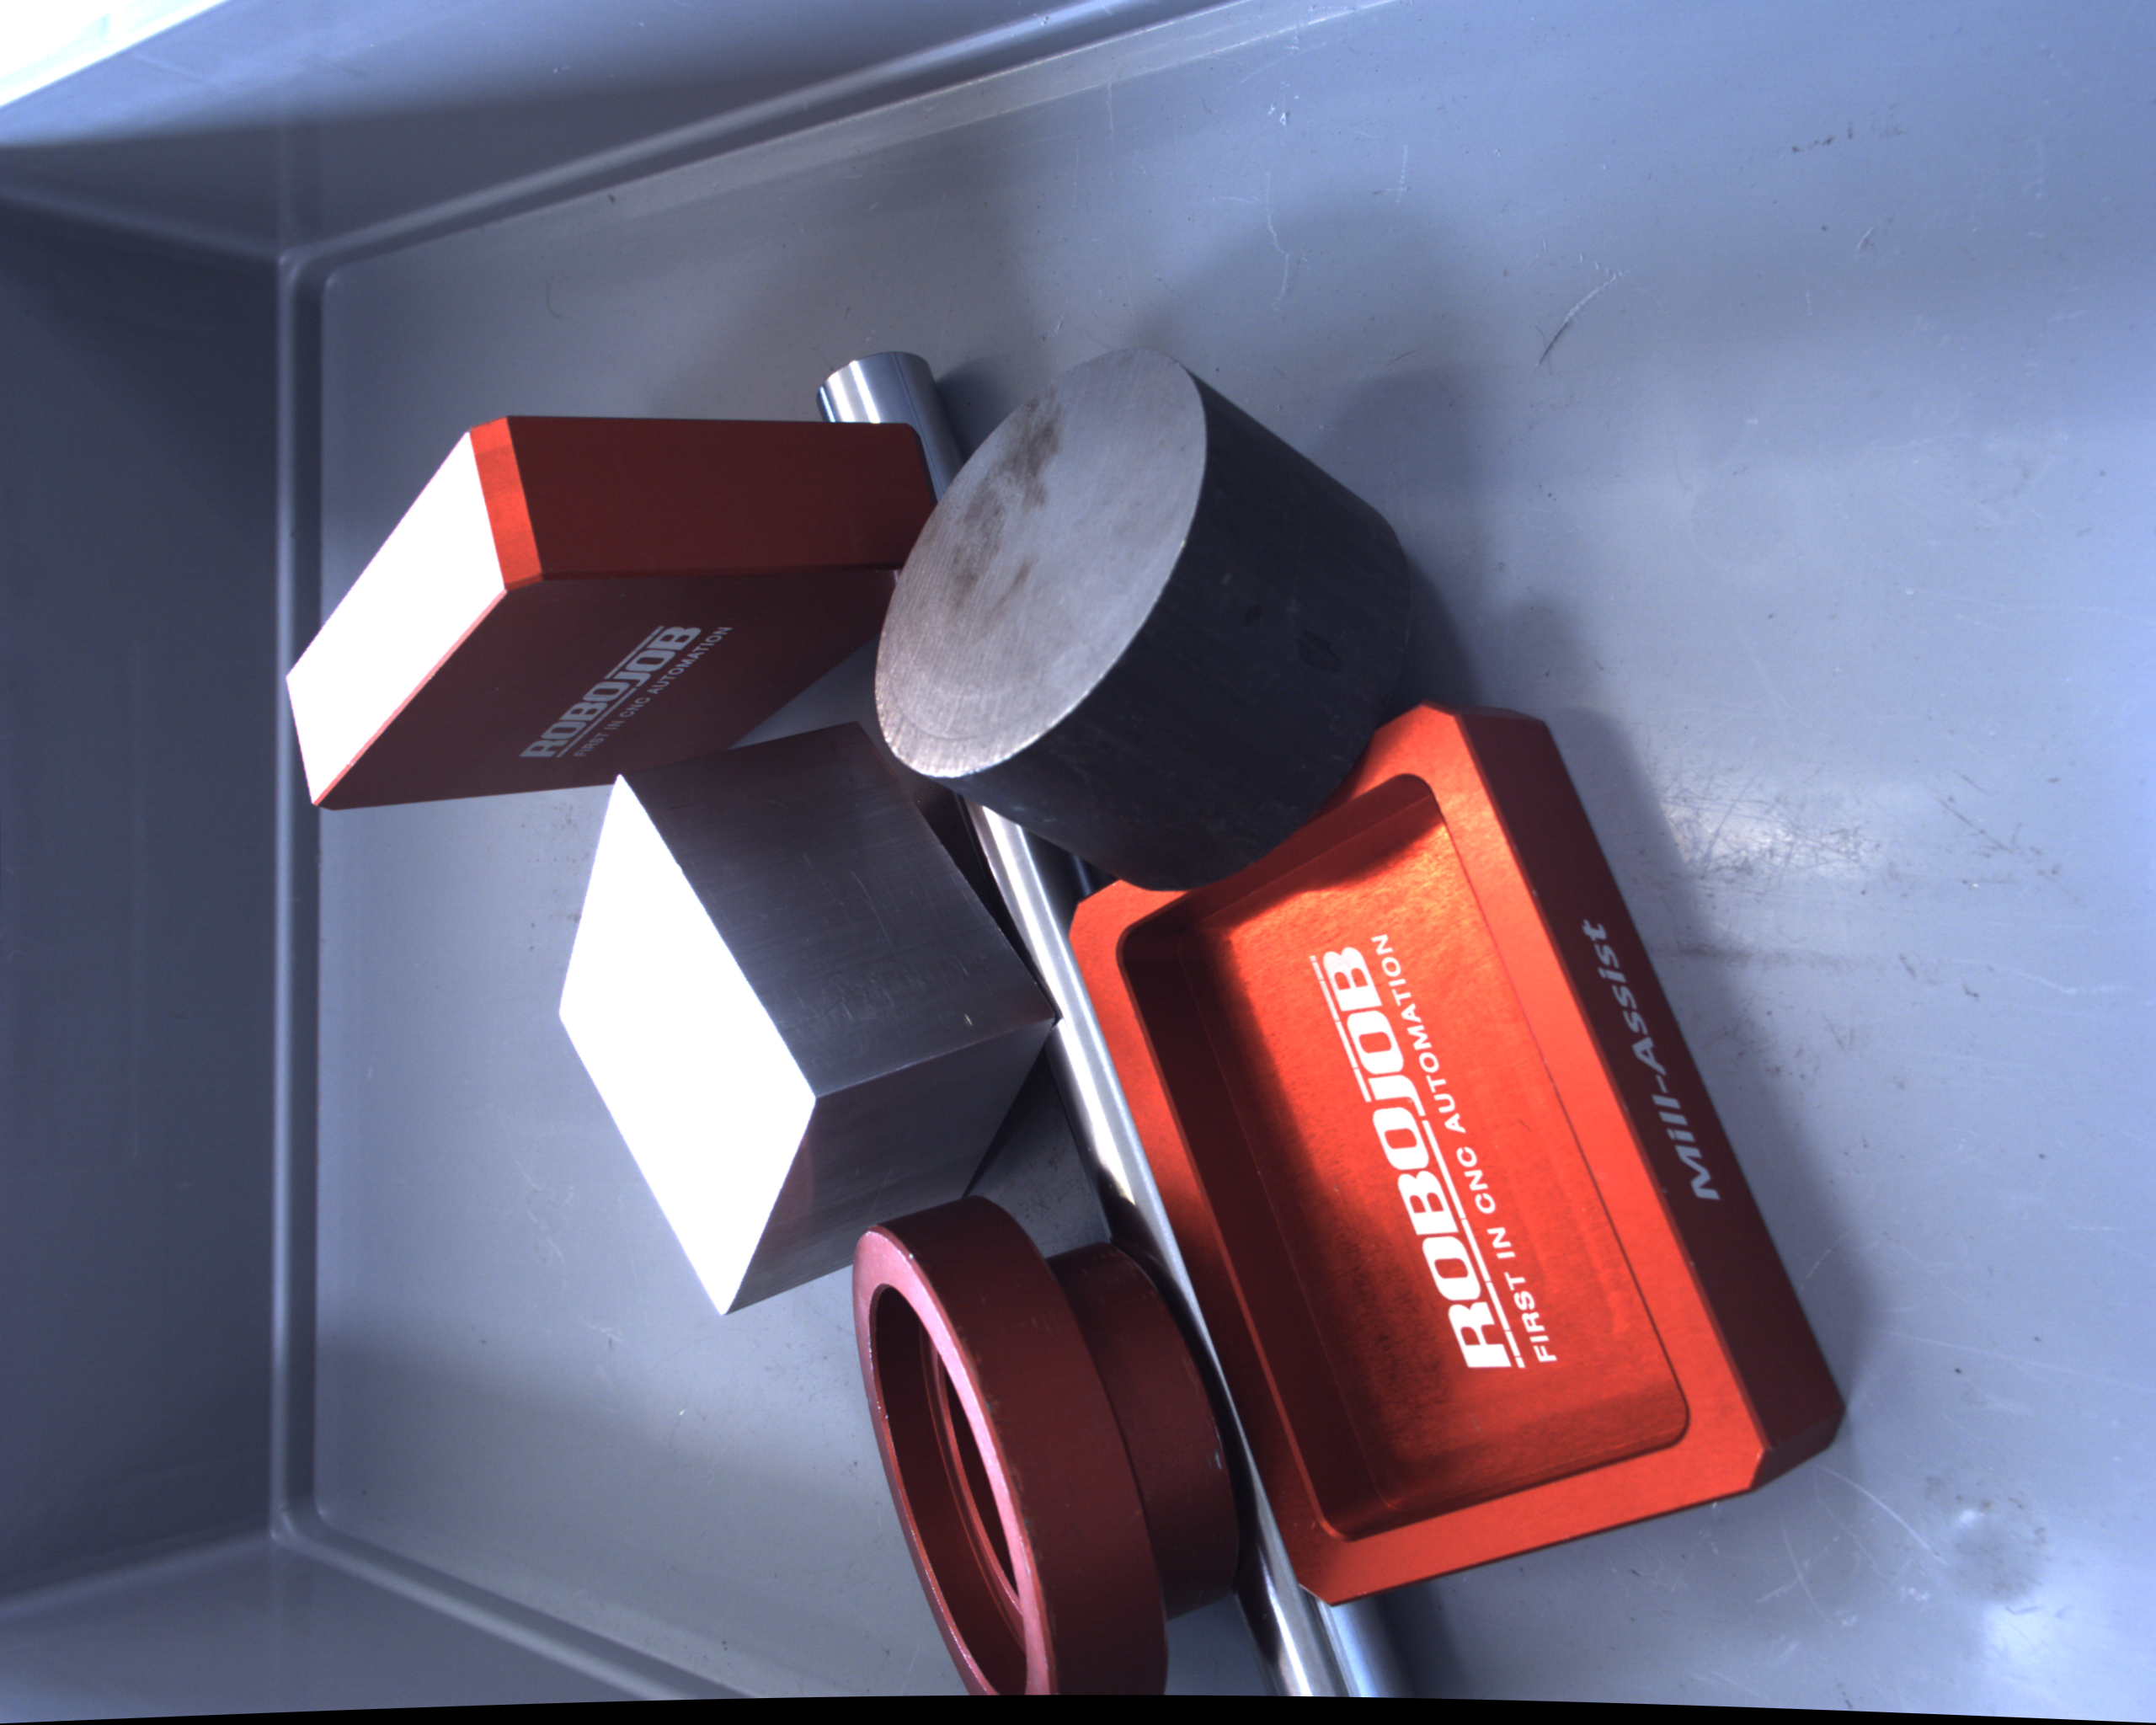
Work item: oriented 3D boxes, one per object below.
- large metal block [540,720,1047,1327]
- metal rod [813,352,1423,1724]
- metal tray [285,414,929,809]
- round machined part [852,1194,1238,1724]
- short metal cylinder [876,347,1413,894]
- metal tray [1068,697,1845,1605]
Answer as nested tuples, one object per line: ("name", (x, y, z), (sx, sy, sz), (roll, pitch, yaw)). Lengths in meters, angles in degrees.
("large metal block", (-0.060, 0.031, 0.414), (0.080, 0.050, 0.079), (55, 140, 25))
("metal rod", (0.005, 0.035, 0.400), (0.025, 0.025, 0.299), (-31, 71, 35))
("metal tray", (-0.097, -0.048, 0.423), (0.130, 0.091, 0.030), (-27, 75, 52))
("round machined part", (-0.005, 0.107, 0.379), (0.098, 0.042, 0.097), (166, 90, -70))
("short metal cylinder", (0.010, -0.041, 0.361), (0.080, 0.050, 0.080), (-31, 45, 36))
("metal tray", (0.058, 0.049, 0.353), (0.090, 0.030, 0.130), (-31, 71, 35))
